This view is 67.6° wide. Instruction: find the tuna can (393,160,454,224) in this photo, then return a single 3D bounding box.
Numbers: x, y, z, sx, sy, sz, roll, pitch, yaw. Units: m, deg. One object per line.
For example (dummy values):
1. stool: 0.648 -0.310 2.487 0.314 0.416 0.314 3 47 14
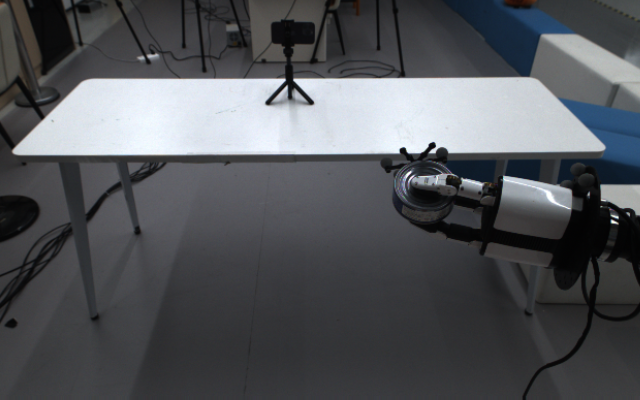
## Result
1. tuna can: 0.145 -0.013 0.660 0.085 0.034 0.085 -3 59 5
